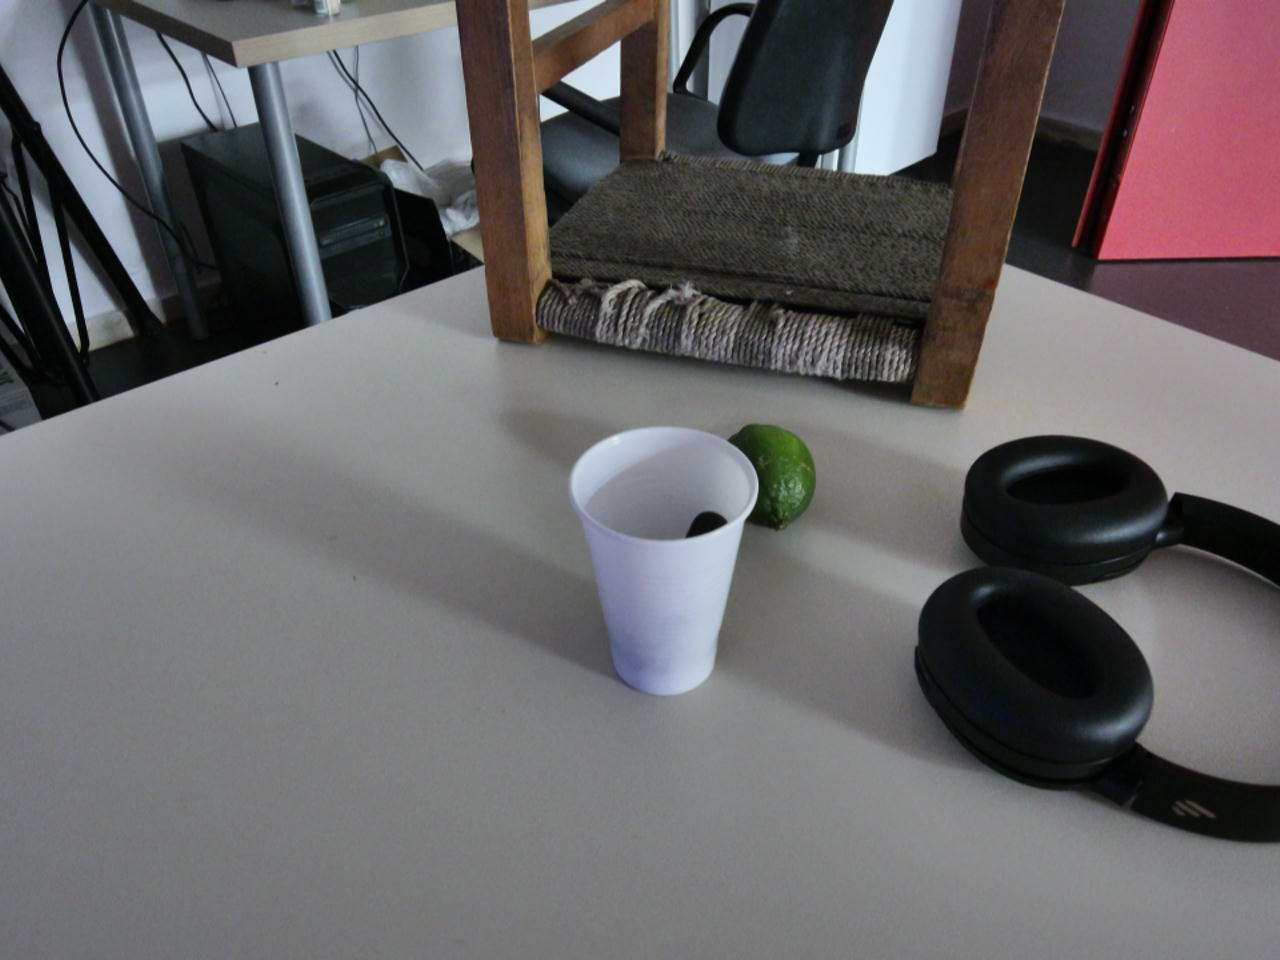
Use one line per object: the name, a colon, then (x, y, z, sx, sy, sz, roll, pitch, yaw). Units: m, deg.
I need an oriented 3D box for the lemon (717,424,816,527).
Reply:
lemon: (0.069, -0.003, 0.545, 0.054, 0.051, 0.057, -29, 46, -34)
